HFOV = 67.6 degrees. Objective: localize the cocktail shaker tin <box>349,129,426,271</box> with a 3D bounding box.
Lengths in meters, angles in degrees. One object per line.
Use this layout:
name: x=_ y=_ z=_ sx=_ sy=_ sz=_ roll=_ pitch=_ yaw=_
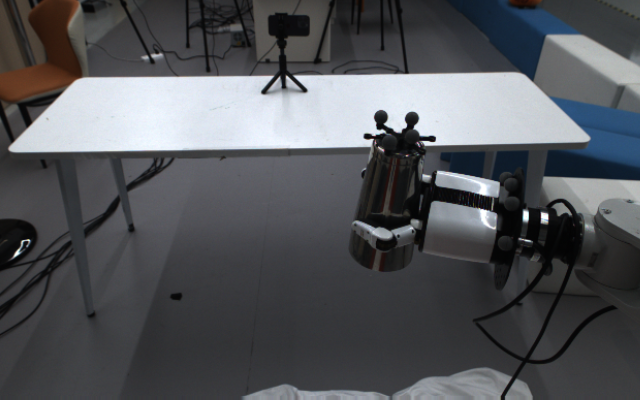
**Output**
cocktail shaker tin: x=0.094 y=0.000 z=0.643 sx=0.093 sy=0.170 sz=0.093 roll=3 pitch=34 yaw=-2
